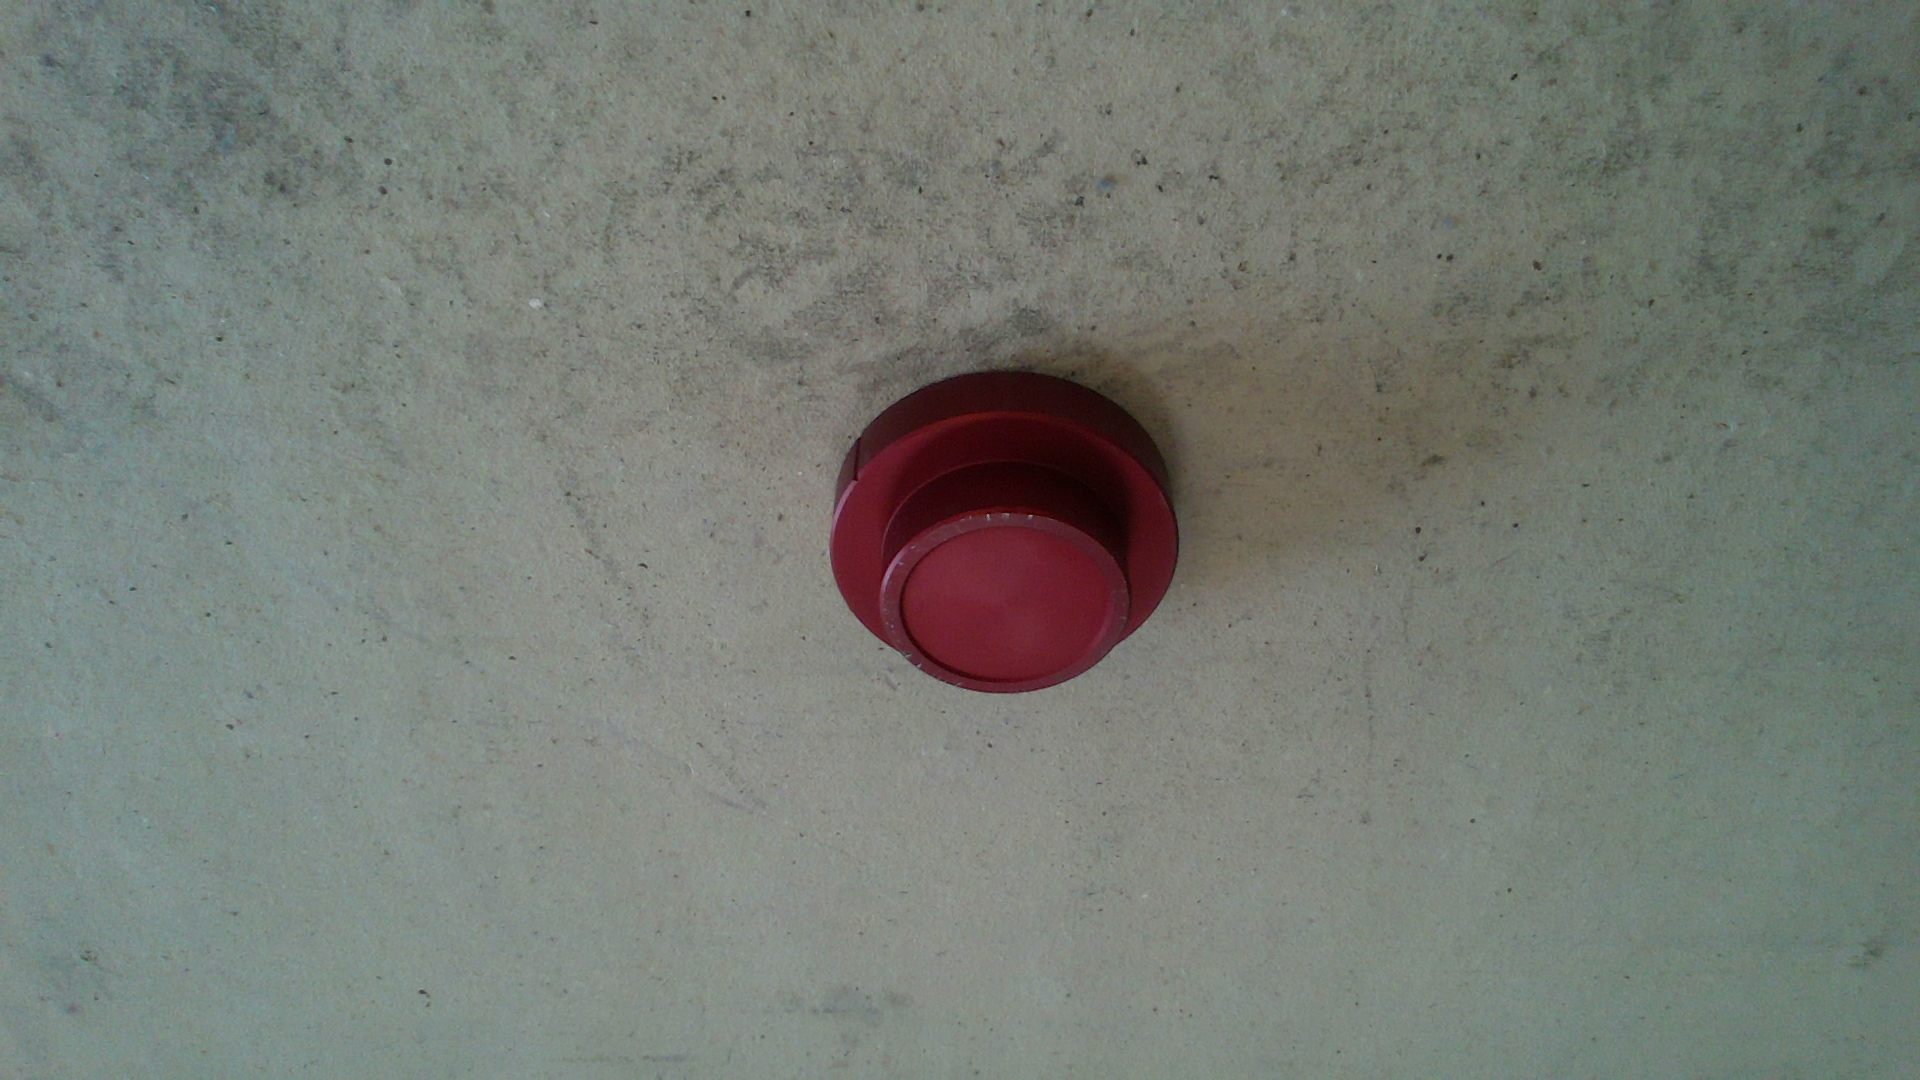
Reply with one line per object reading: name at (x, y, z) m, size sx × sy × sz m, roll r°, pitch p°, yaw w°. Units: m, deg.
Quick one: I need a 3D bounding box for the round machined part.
round machined part at (0.012, 0.005, 0.384) m, size 0.098 × 0.042 × 0.098 m, roll 0°, pitch 130°, yaw 0°
